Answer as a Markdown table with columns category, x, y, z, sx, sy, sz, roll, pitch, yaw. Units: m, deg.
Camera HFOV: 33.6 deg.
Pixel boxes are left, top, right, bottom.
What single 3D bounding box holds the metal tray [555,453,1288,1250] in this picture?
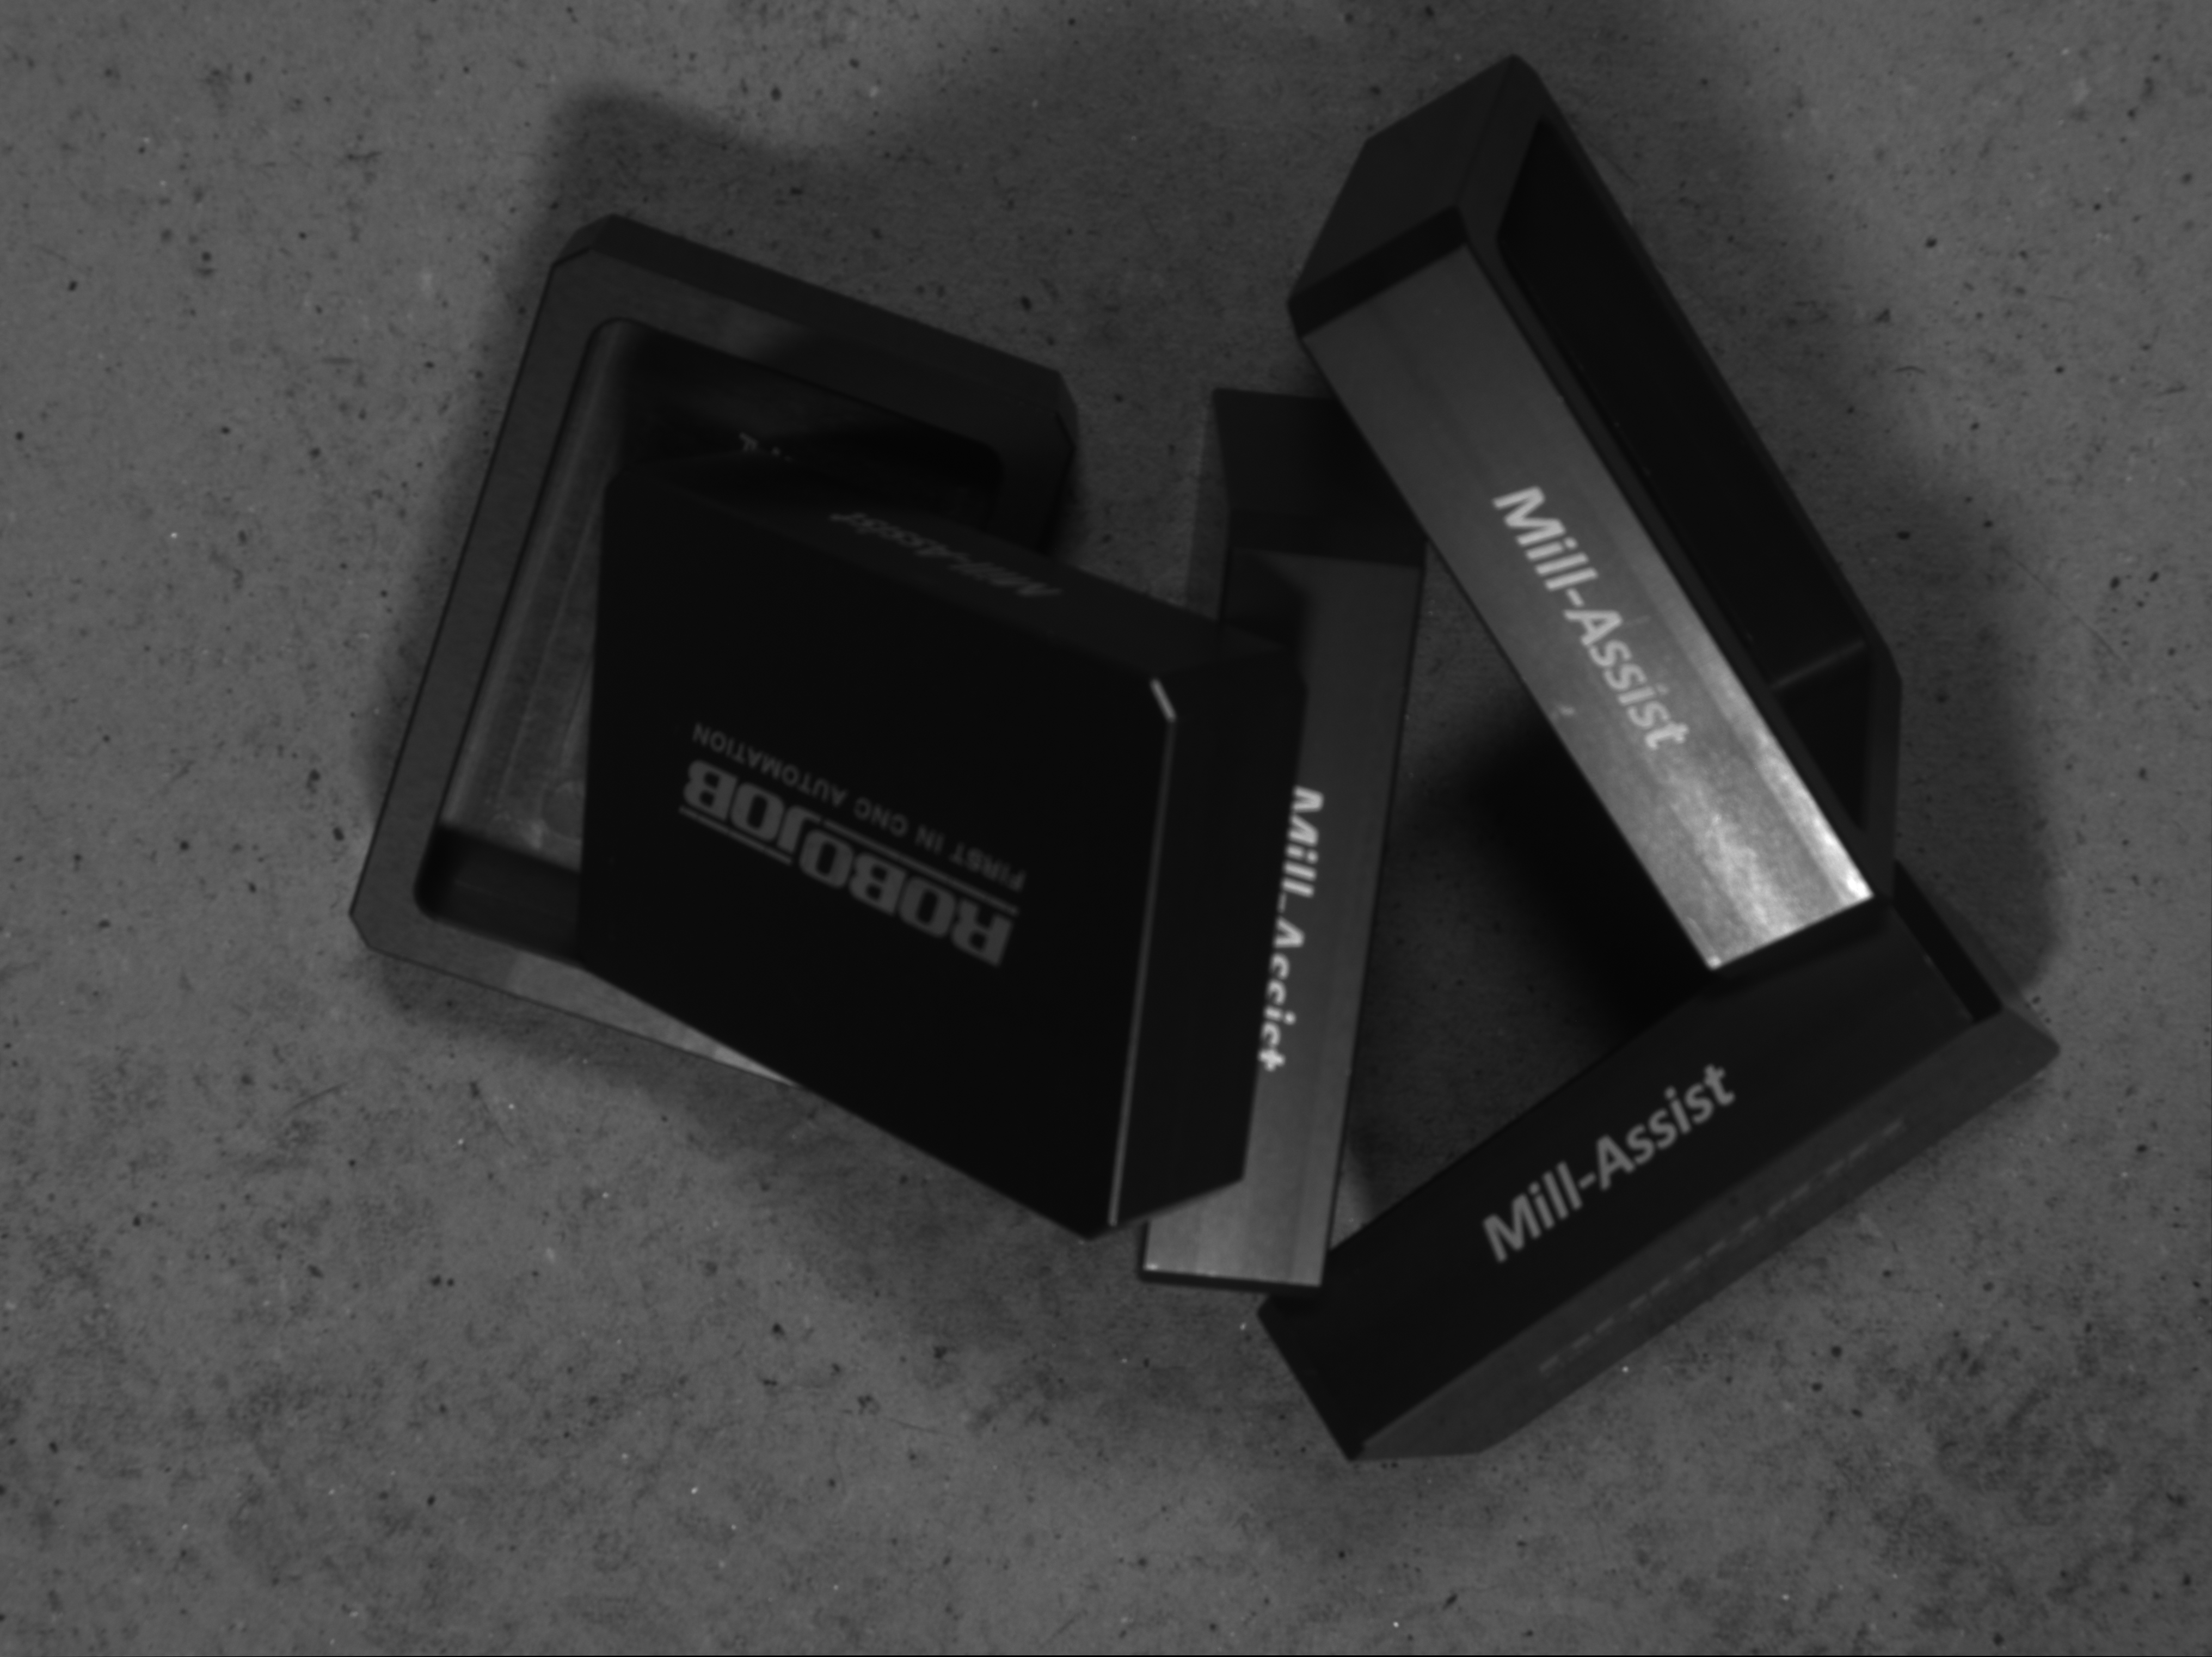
| category | x | y | z | sx | sy | sz | roll | pitch | yaw |
| --- | --- | --- | --- | --- | --- | --- | --- | --- | --- |
| metal tray | -0.034 | 0.000 | 0.583 | 0.130 | 0.030 | 0.090 | 24 | 116 | 39 |

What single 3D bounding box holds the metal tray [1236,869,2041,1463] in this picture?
| category | x | y | z | sx | sy | sz | roll | pitch | yaw |
| --- | --- | --- | --- | --- | --- | --- | --- | --- | --- |
| metal tray | 0.094 | 0.061 | 0.632 | 0.130 | 0.090 | 0.030 | -37 | 71 | 12 |

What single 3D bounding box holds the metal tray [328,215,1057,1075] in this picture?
| category | x | y | z | sx | sy | sz | roll | pitch | yaw |
| --- | --- | --- | --- | --- | --- | --- | --- | --- | --- |
| metal tray | -0.071 | -0.029 | 0.629 | 0.090 | 0.030 | 0.130 | 19 | 109 | -7 |

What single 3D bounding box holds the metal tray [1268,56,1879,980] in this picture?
| category | x | y | z | sx | sy | sz | roll | pitch | yaw |
| --- | --- | --- | --- | --- | --- | --- | --- | --- | --- |
| metal tray | 0.079 | -0.051 | 0.589 | 0.030 | 0.090 | 0.130 | -27 | 108 | 24 |

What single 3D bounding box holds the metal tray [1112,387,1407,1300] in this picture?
| category | x | y | z | sx | sy | sz | roll | pitch | yaw |
| --- | --- | --- | --- | --- | --- | --- | --- | --- | --- |
| metal tray | 0.023 | 0.001 | 0.609 | 0.030 | 0.090 | 0.130 | 6 | 110 | -3 |
